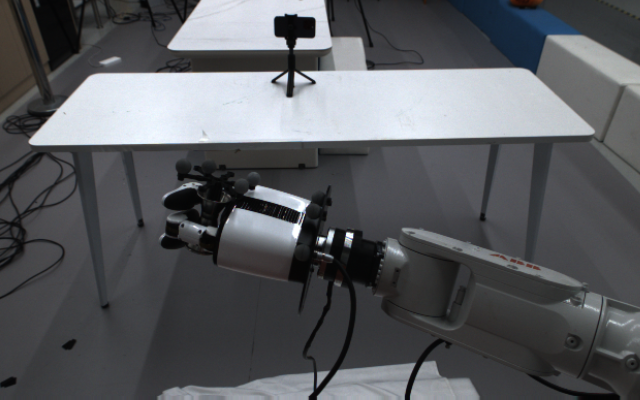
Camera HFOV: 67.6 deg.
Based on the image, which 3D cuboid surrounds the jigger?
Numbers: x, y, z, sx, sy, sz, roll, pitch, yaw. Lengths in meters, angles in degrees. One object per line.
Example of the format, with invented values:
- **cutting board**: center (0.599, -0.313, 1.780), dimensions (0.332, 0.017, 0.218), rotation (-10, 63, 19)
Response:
- **jigger**: center (-0.128, 0.025, 0.576), dimensions (0.043, 0.071, 0.043), rotation (15, 17, -5)
